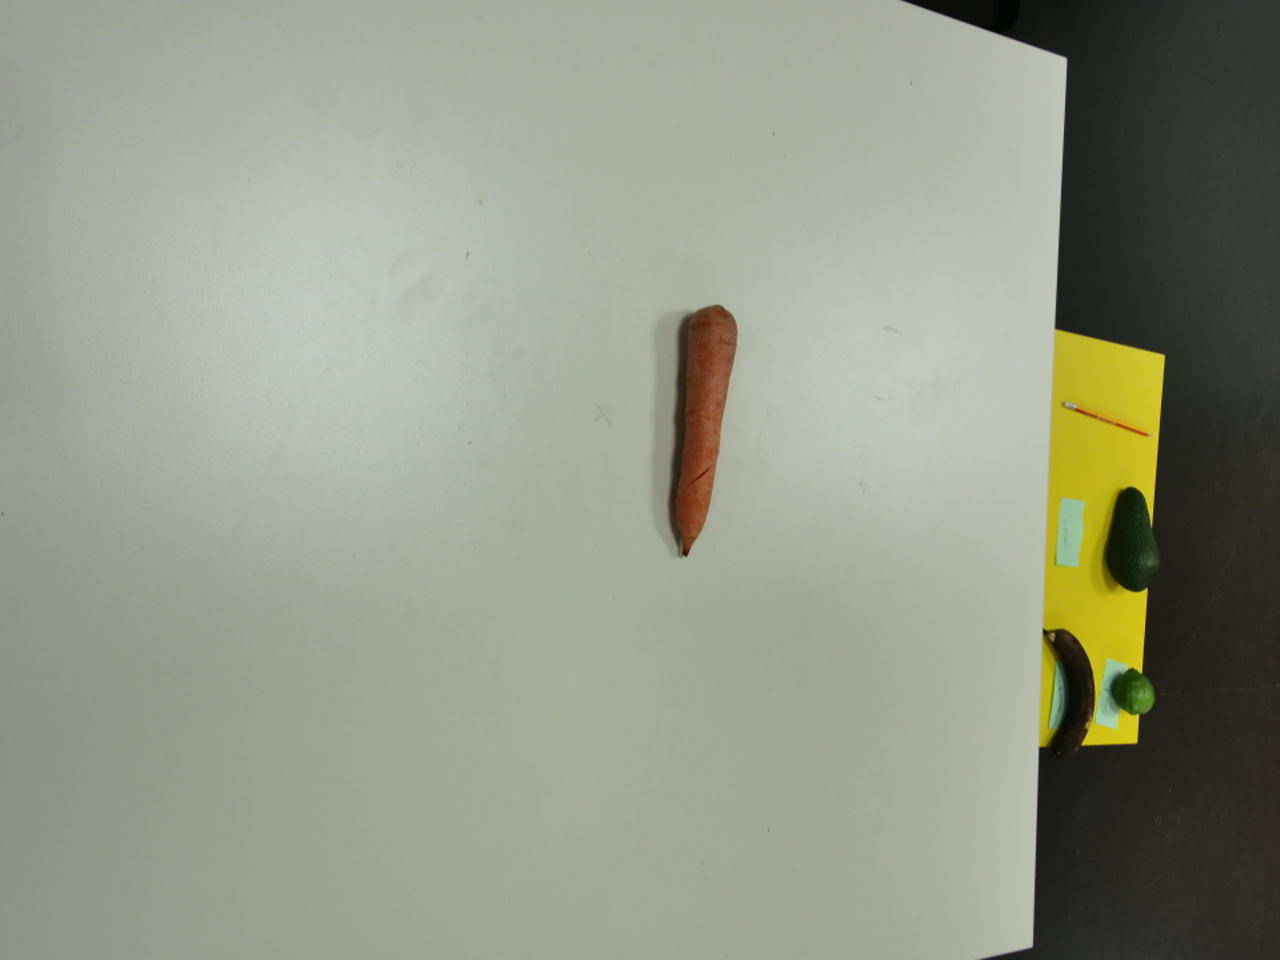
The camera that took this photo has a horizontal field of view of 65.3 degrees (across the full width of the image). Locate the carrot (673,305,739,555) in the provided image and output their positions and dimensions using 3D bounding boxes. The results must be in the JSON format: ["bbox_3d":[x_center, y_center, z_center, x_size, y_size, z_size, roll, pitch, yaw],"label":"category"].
[{"bbox_3d":[0.050,-0.036,0.766,0.039,0.041,0.196,5,88,-29],"label":"carrot"}]
